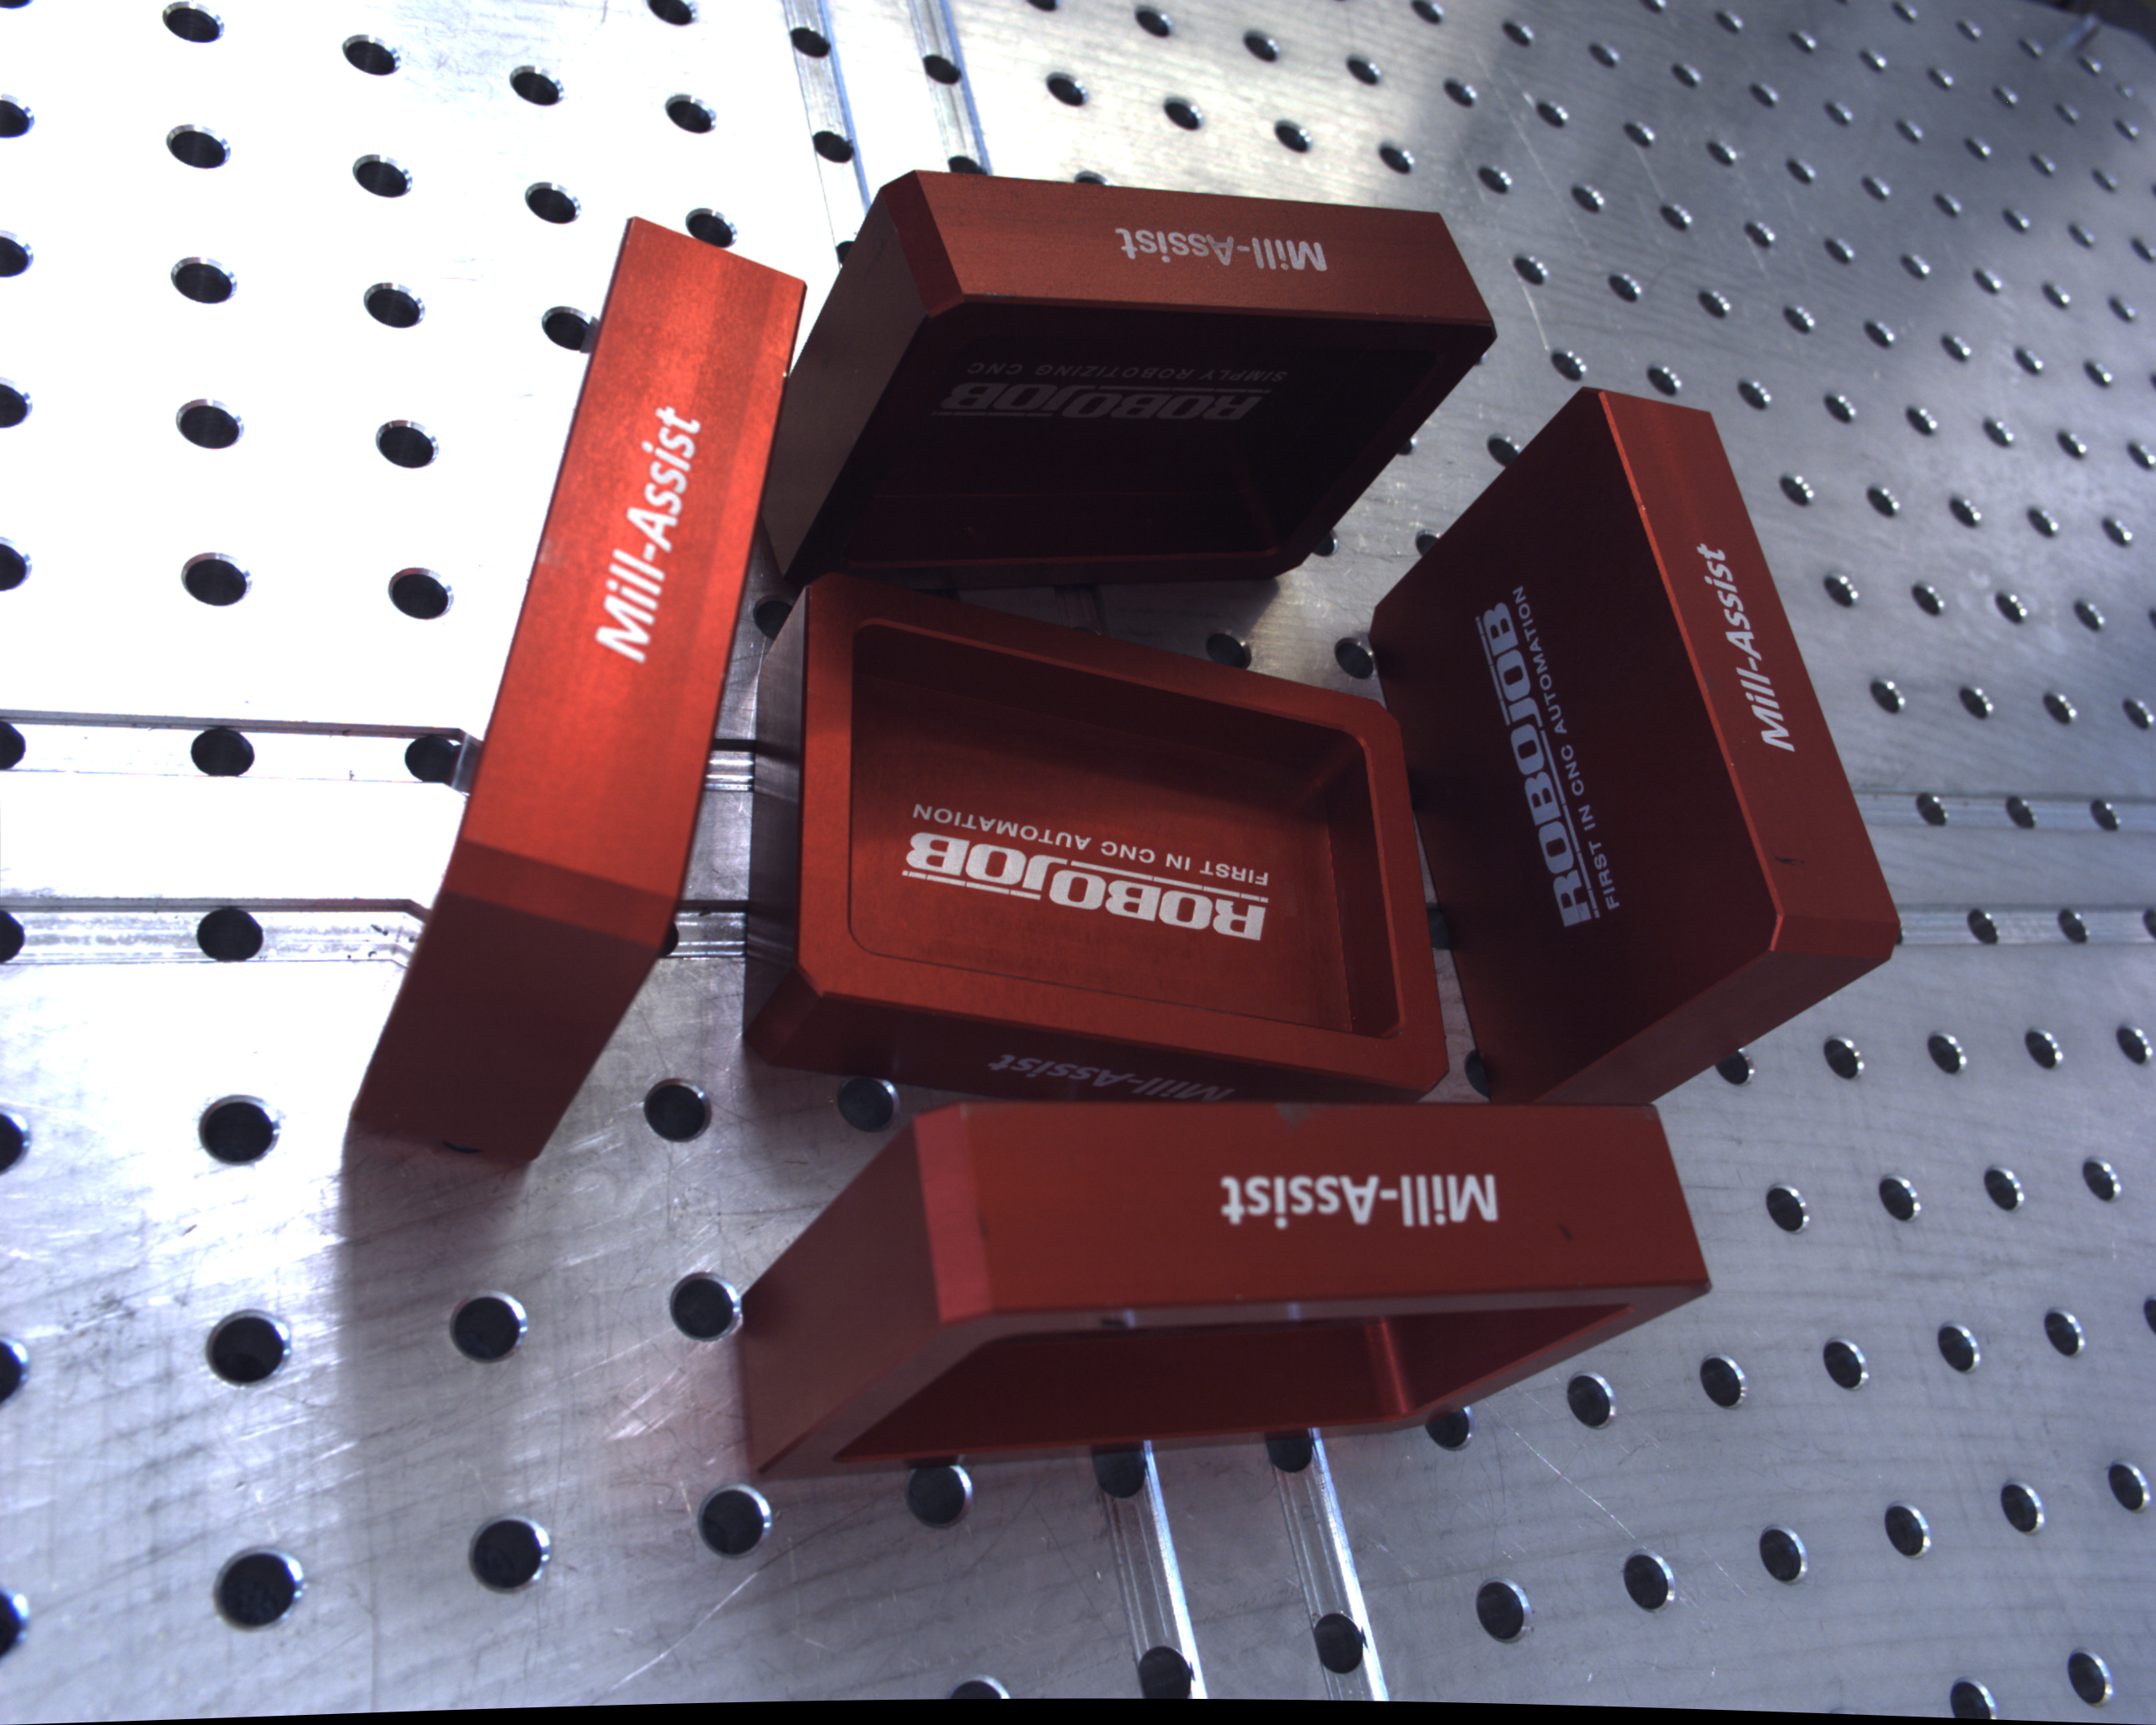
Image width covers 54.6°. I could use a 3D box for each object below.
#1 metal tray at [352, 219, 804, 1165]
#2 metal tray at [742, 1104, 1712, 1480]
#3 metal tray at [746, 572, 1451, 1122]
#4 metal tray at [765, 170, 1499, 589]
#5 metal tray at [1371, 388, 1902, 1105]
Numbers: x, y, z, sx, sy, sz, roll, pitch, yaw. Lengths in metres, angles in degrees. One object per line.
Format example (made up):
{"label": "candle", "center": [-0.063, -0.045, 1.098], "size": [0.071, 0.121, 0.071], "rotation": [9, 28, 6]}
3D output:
{"label": "metal tray", "center": [-0.081, -0.028, 0.339], "size": [0.030, 0.090, 0.130], "rotation": [17, 55, -18]}
{"label": "metal tray", "center": [0.022, 0.069, 0.336], "size": [0.131, 0.090, 0.030], "rotation": [3, 61, -26]}
{"label": "metal tray", "center": [0.004, 0.001, 0.405], "size": [0.131, 0.030, 0.090], "rotation": [11, 57, -23]}
{"label": "metal tray", "center": [0.009, -0.094, 0.428], "size": [0.131, 0.090, 0.030], "rotation": [-7, 65, -31]}
{"label": "metal tray", "center": [0.110, -0.021, 0.438], "size": [0.030, 0.090, 0.130], "rotation": [5, 60, -26]}
